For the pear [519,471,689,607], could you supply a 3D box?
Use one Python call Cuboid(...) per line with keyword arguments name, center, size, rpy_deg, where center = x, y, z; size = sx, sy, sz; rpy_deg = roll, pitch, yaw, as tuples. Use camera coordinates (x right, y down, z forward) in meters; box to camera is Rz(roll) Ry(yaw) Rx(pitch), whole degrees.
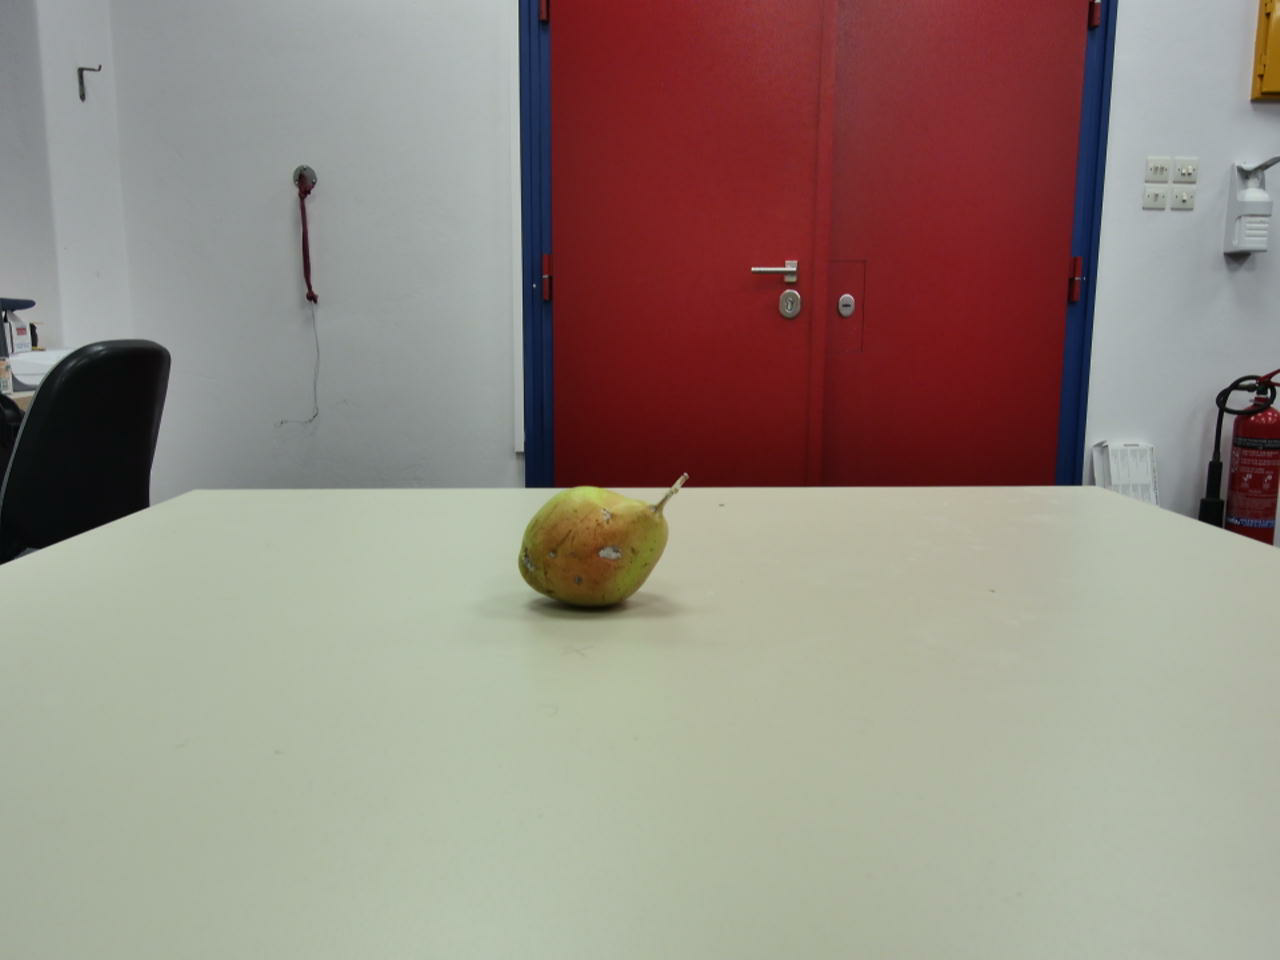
Cuboid(name="pear", center=(-0.023, 0.031, 0.517), size=(0.068, 0.069, 0.070), rpy_deg=(-5, 8, -39))
